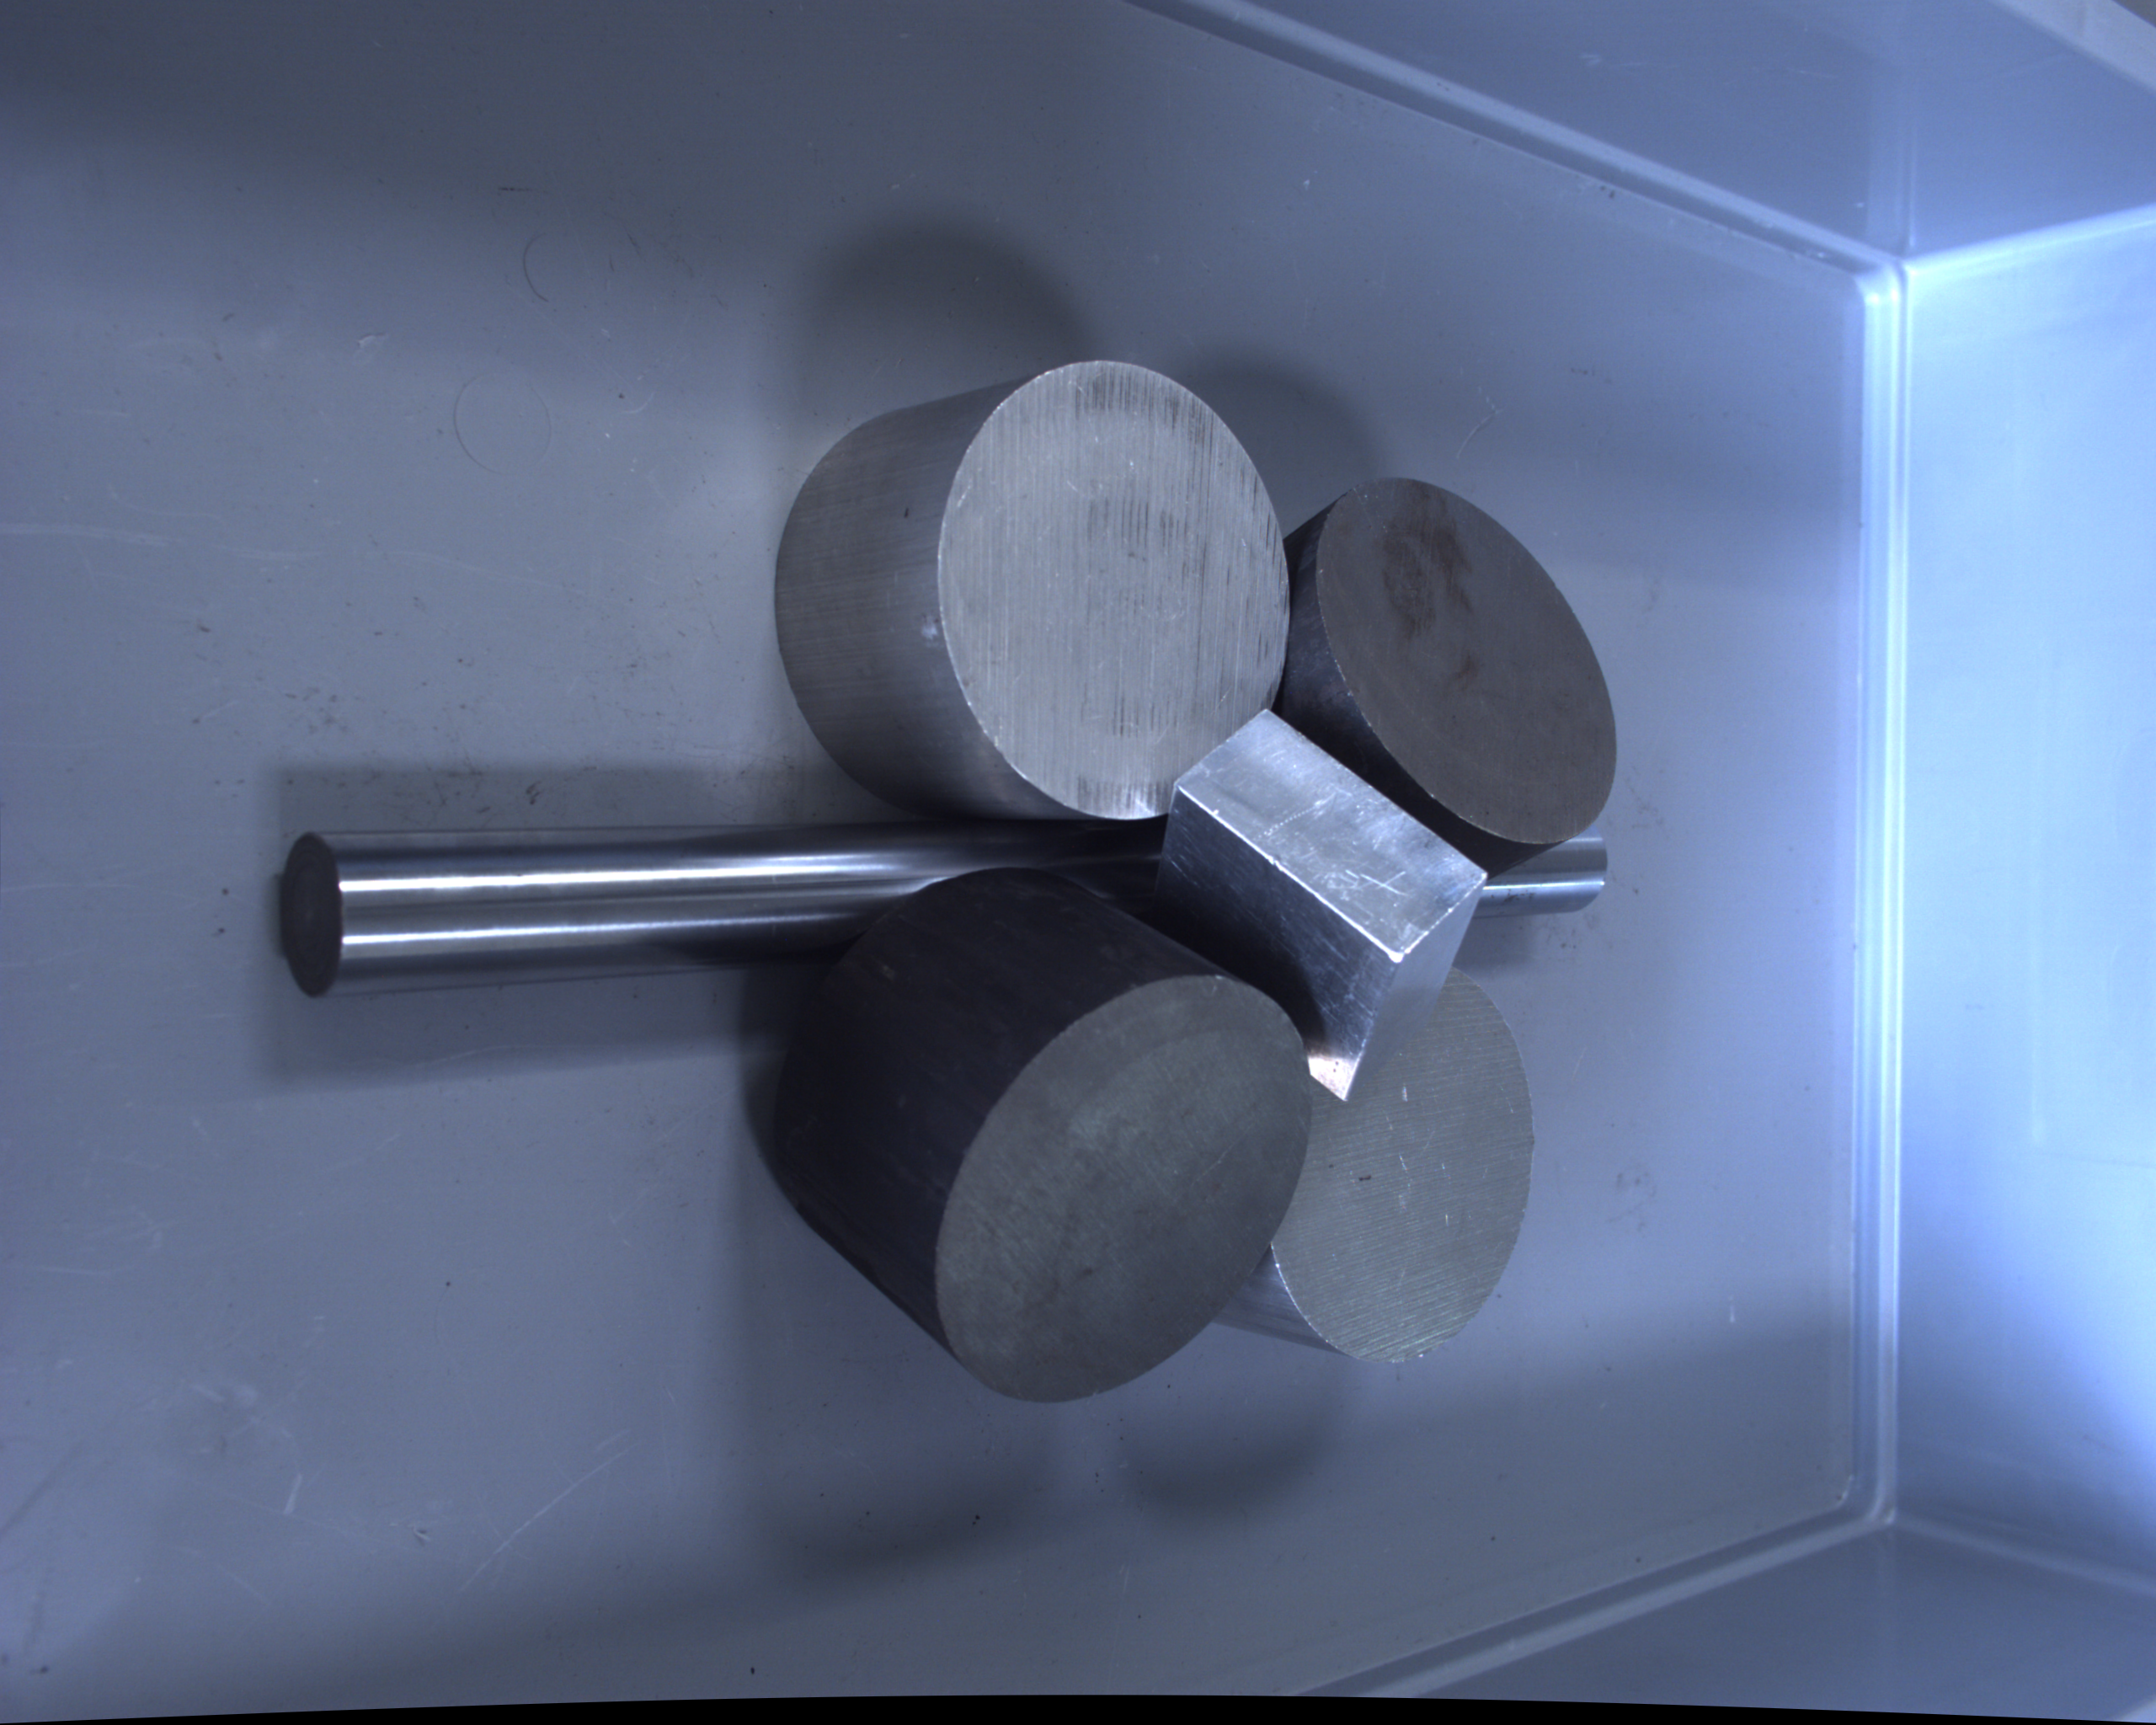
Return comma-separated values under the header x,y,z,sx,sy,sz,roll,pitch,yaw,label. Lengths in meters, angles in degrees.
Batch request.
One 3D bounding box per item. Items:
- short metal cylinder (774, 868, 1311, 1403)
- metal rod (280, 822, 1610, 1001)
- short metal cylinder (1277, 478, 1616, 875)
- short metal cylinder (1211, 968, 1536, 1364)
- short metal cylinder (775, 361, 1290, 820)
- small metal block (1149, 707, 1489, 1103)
x,y,z,sx,sy,sz,roll,pitch,yaw,label
-0.006,0.047,0.368,0.081,0.050,0.079,-19,122,-33,short metal cylinder
0.002,0.004,0.406,0.302,0.025,0.025,-2,92,-40,metal rod
0.062,-0.030,0.423,0.081,0.050,0.080,19,56,-31,short metal cylinder
0.049,0.058,0.429,0.081,0.050,0.079,0,90,-40,short metal cylinder
-0.007,-0.047,0.382,0.081,0.050,0.079,0,90,-40,short metal cylinder
0.041,0.008,0.377,0.025,0.050,0.050,-40,157,-27,small metal block
